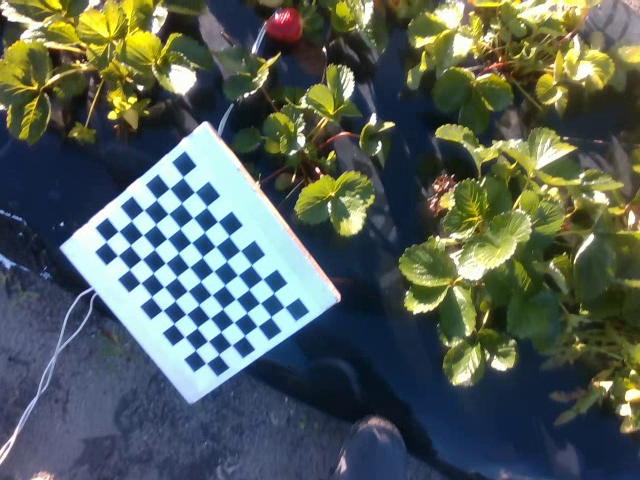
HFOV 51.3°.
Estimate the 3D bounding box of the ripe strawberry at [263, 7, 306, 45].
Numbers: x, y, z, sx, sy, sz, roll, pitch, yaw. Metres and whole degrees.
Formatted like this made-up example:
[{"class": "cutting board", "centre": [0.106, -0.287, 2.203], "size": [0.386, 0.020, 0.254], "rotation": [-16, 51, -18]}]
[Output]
[{"class": "ripe strawberry", "centre": [-0.056, -0.329, 1.026], "size": [0.080, 0.063, 0.040], "rotation": [-19, 18, -30]}]
